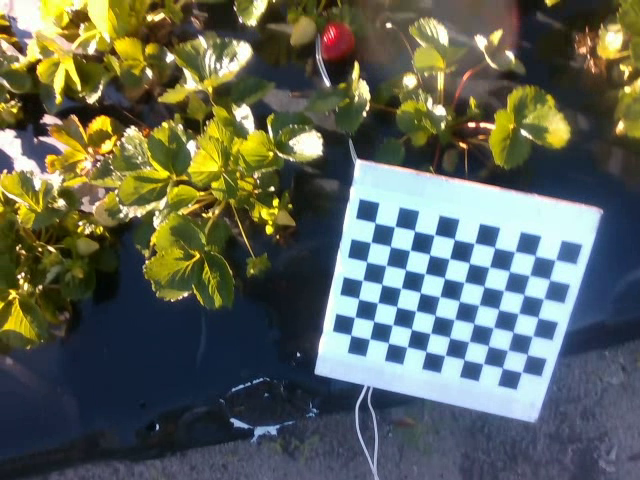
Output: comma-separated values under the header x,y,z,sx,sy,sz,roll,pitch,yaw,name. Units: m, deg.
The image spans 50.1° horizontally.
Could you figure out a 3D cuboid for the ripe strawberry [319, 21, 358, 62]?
x,y,z,sx,sy,sz,roll,pitch,yaw,name
0.029,-0.289,0.975,0.062,0.080,0.040,39,-28,-8,ripe strawberry
